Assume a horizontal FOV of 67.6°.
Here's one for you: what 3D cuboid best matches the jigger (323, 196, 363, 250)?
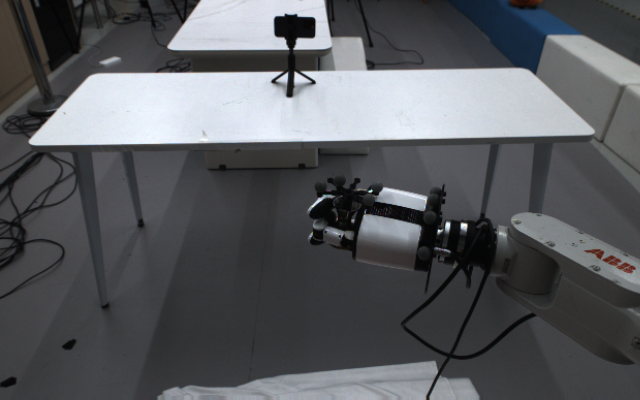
[{"bbox_3d":[0.039,0.032,0.711,0.043,0.071,0.043,4,31,-2],"label":"jigger"}]
